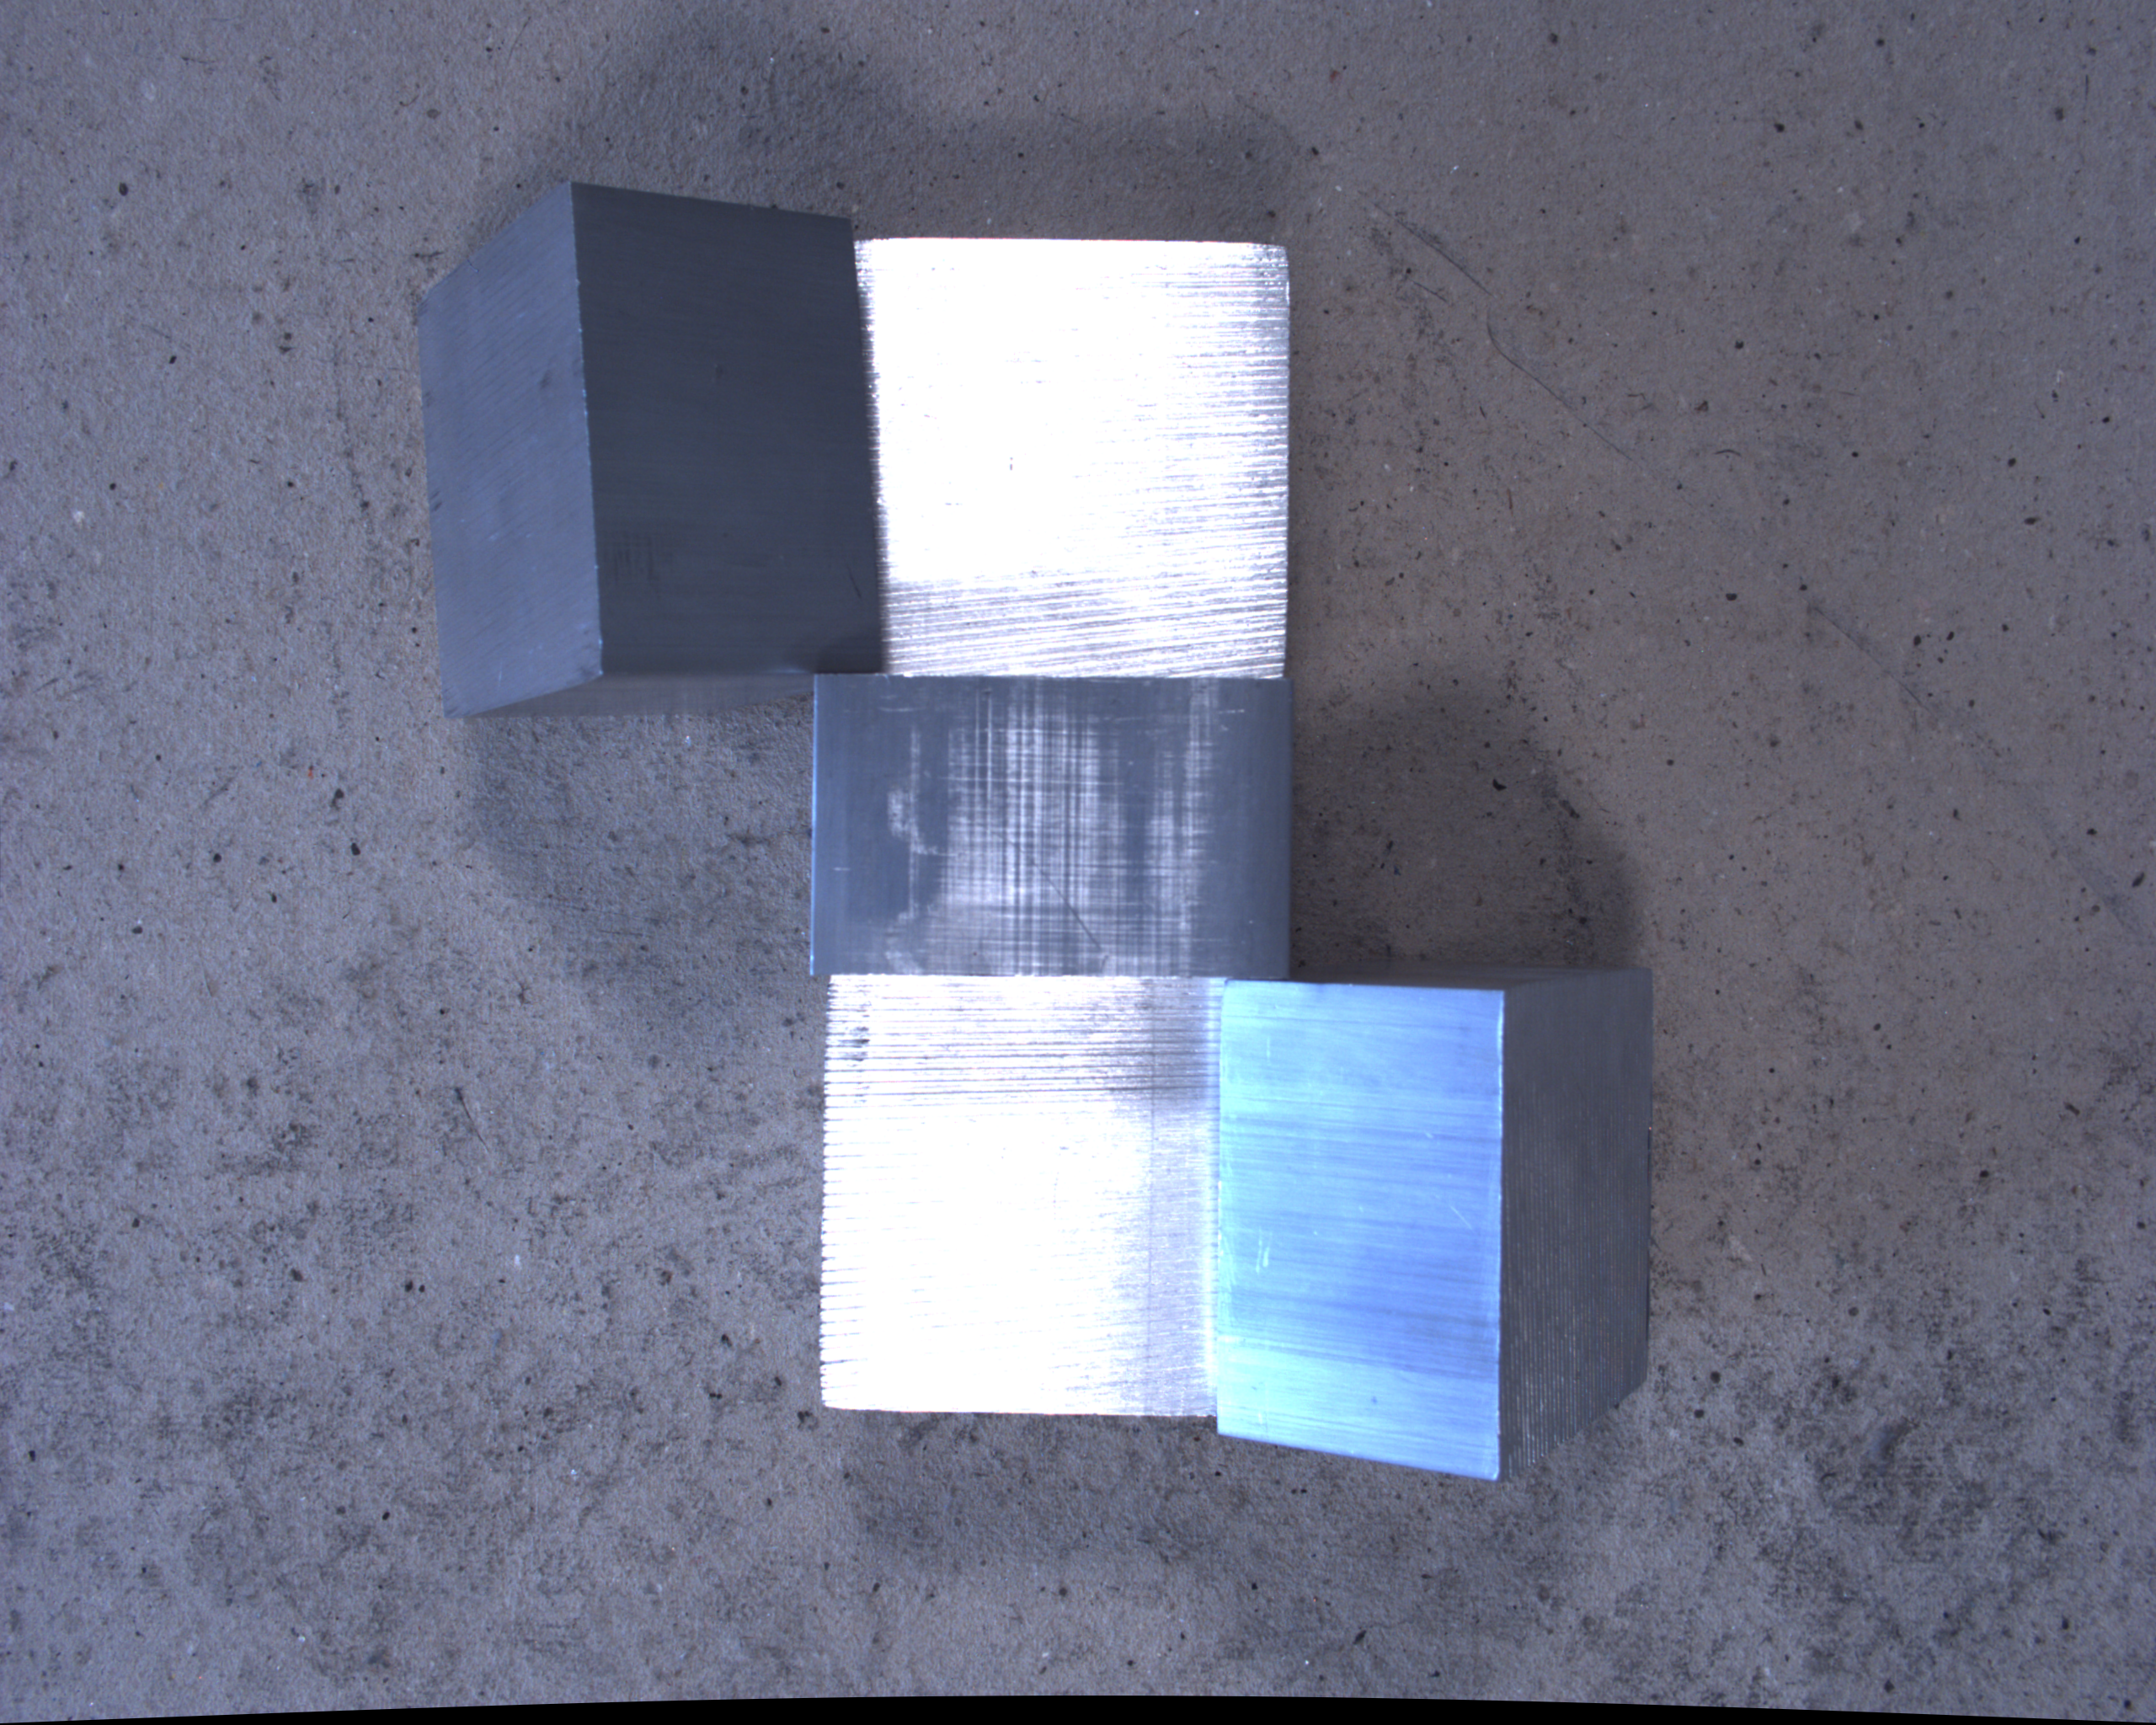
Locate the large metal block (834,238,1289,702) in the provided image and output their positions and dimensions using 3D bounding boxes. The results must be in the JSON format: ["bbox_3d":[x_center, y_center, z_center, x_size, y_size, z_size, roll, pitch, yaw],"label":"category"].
[{"bbox_3d":[-0.003,-0.071,0.397,0.080,0.050,0.080,1,90,0],"label":"large metal block"}]

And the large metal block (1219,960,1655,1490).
[{"bbox_3d":[0.067,0.059,0.377,0.050,0.080,0.080,0,90,32],"label":"large metal block"}]

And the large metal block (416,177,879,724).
[{"bbox_3d":[-0.079,-0.068,0.376,0.050,0.080,0.080,-4,90,-34],"label":"large metal block"}]

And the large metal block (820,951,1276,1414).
[{"bbox_3d":[-0.005,0.058,0.399,0.080,0.050,0.079,1,91,0],"label":"large metal block"}]

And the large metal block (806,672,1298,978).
[{"bbox_3d":[-0.004,-0.006,0.384,0.081,0.080,0.050,0,90,0],"label":"large metal block"}]
